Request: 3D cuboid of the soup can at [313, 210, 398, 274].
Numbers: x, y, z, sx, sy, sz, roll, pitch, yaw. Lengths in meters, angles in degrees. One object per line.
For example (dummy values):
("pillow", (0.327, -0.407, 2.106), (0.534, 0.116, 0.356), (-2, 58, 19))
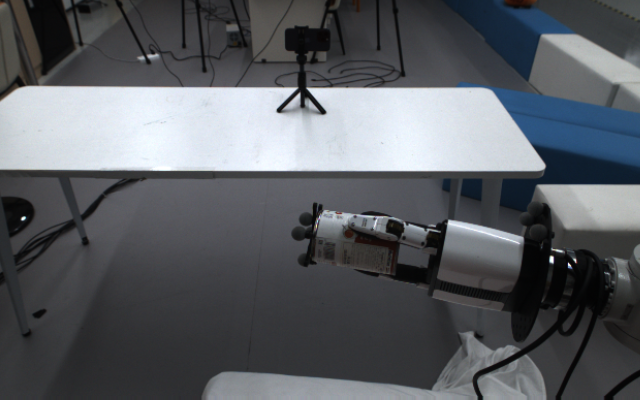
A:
("soup can", (0.049, 0.051, 0.592), (0.101, 0.067, 0.067), (8, 35, 9))
